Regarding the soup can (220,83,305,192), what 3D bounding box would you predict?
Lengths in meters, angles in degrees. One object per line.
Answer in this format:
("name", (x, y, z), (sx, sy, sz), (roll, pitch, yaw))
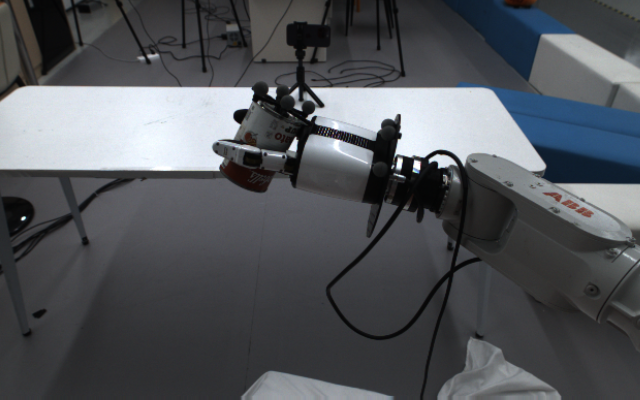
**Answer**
("soup can", (-0.073, -0.069, 0.605), (0.067, 0.101, 0.067), (28, 18, -10))
